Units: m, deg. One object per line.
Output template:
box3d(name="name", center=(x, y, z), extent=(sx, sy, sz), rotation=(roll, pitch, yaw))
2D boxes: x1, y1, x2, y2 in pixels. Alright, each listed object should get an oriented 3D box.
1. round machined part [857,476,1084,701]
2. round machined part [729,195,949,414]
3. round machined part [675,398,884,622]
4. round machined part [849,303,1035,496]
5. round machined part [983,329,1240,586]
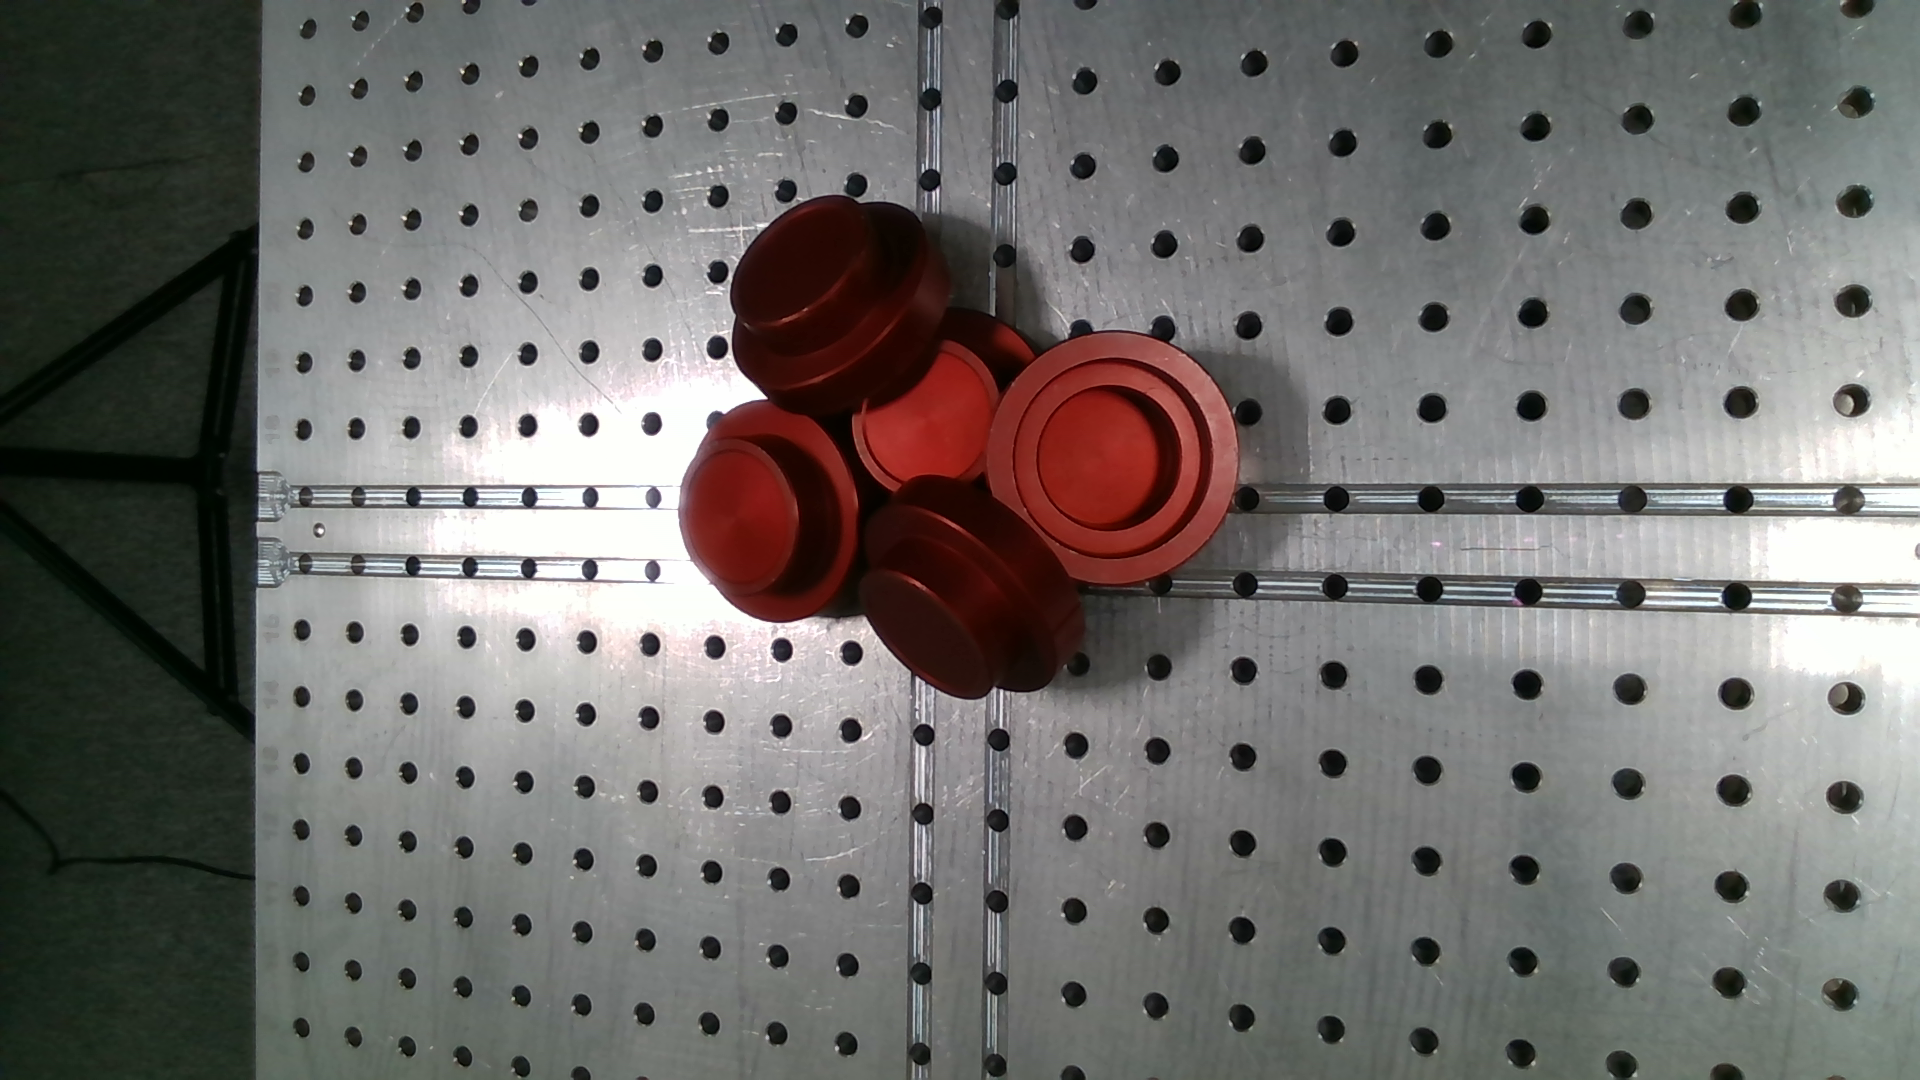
box3d(name="round machined part", center=(-0.002, 0.026, 0.549), extent=(0.098, 0.098, 0.042), rotation=(35, 61, 17))
box3d(name="round machined part", center=(-0.057, -0.104, 0.574), extent=(0.098, 0.042, 0.098), rotation=(-18, 52, 24))
box3d(name="round machined part", center=(-0.084, -0.012, 0.597), extent=(0.098, 0.042, 0.098), rotation=(4, 99, 31))
box3d(name="round machined part", center=(-0.007, -0.051, 0.580), extent=(0.098, 0.042, 0.098), rotation=(0, 91, 20))
box3d(name="round machined part", center=(0.058, -0.033, 0.545), extent=(0.098, 0.042, 0.098), rotation=(0, 95, -1))
